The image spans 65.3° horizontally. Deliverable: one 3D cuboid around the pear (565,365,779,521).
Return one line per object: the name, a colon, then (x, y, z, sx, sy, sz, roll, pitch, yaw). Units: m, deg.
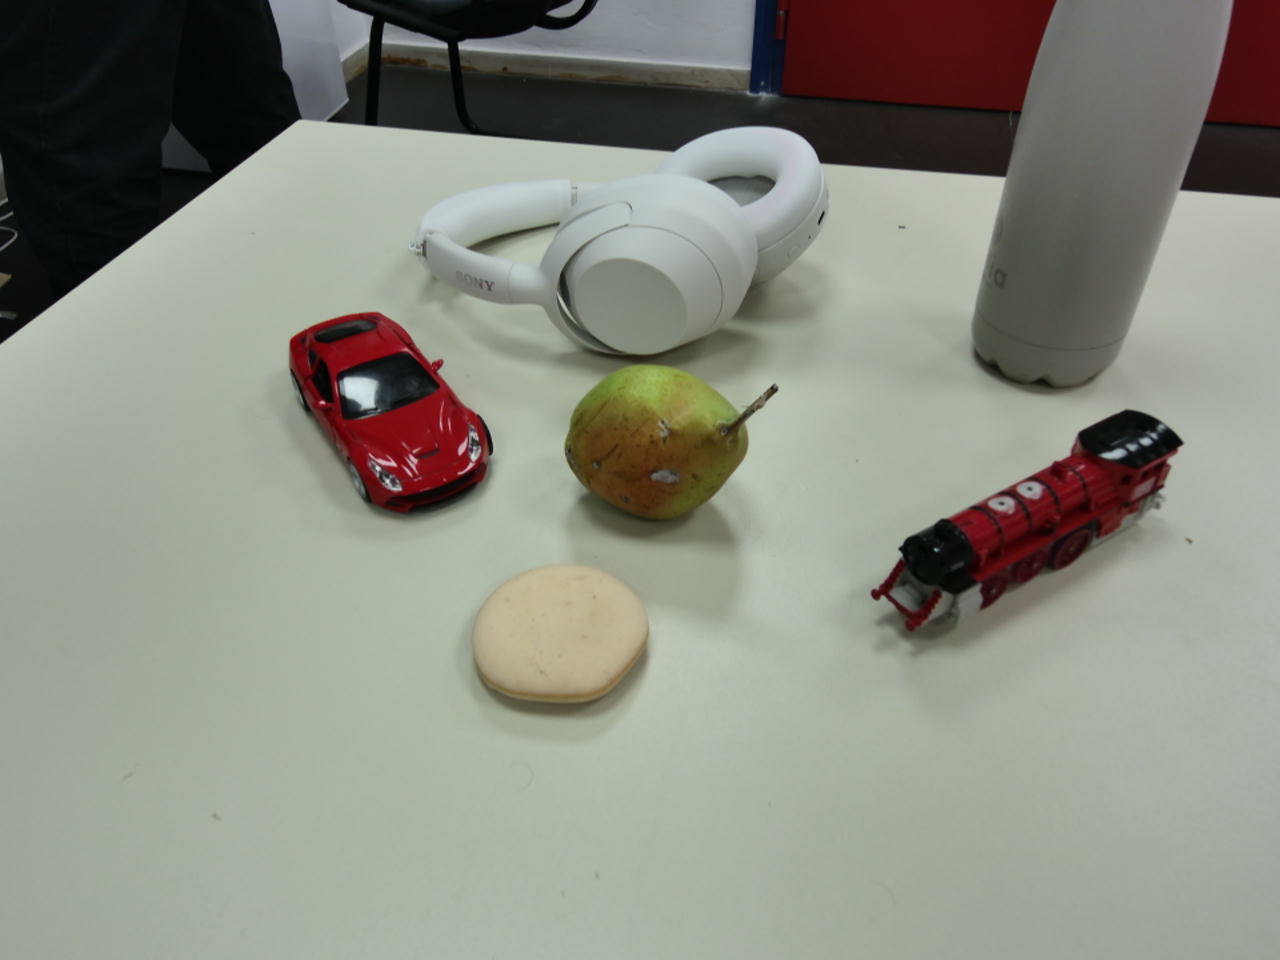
pear: (0.006, -0.018, 0.405, 0.068, 0.069, 0.070, -16, 41, -19)
